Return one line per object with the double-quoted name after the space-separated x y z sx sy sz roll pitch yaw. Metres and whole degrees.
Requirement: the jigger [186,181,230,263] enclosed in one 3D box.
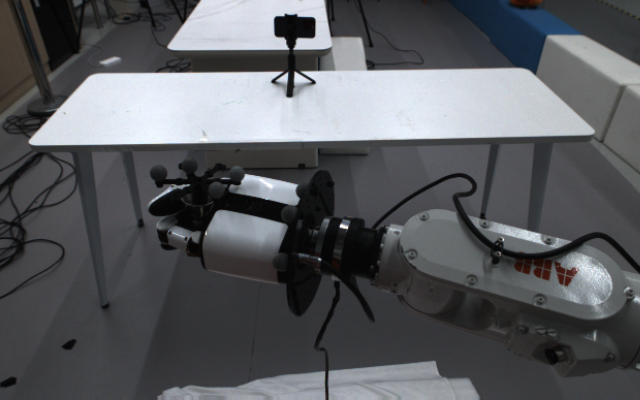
-0.132 0.022 0.552 0.043 0.071 0.043 4 31 -2 "jigger"
